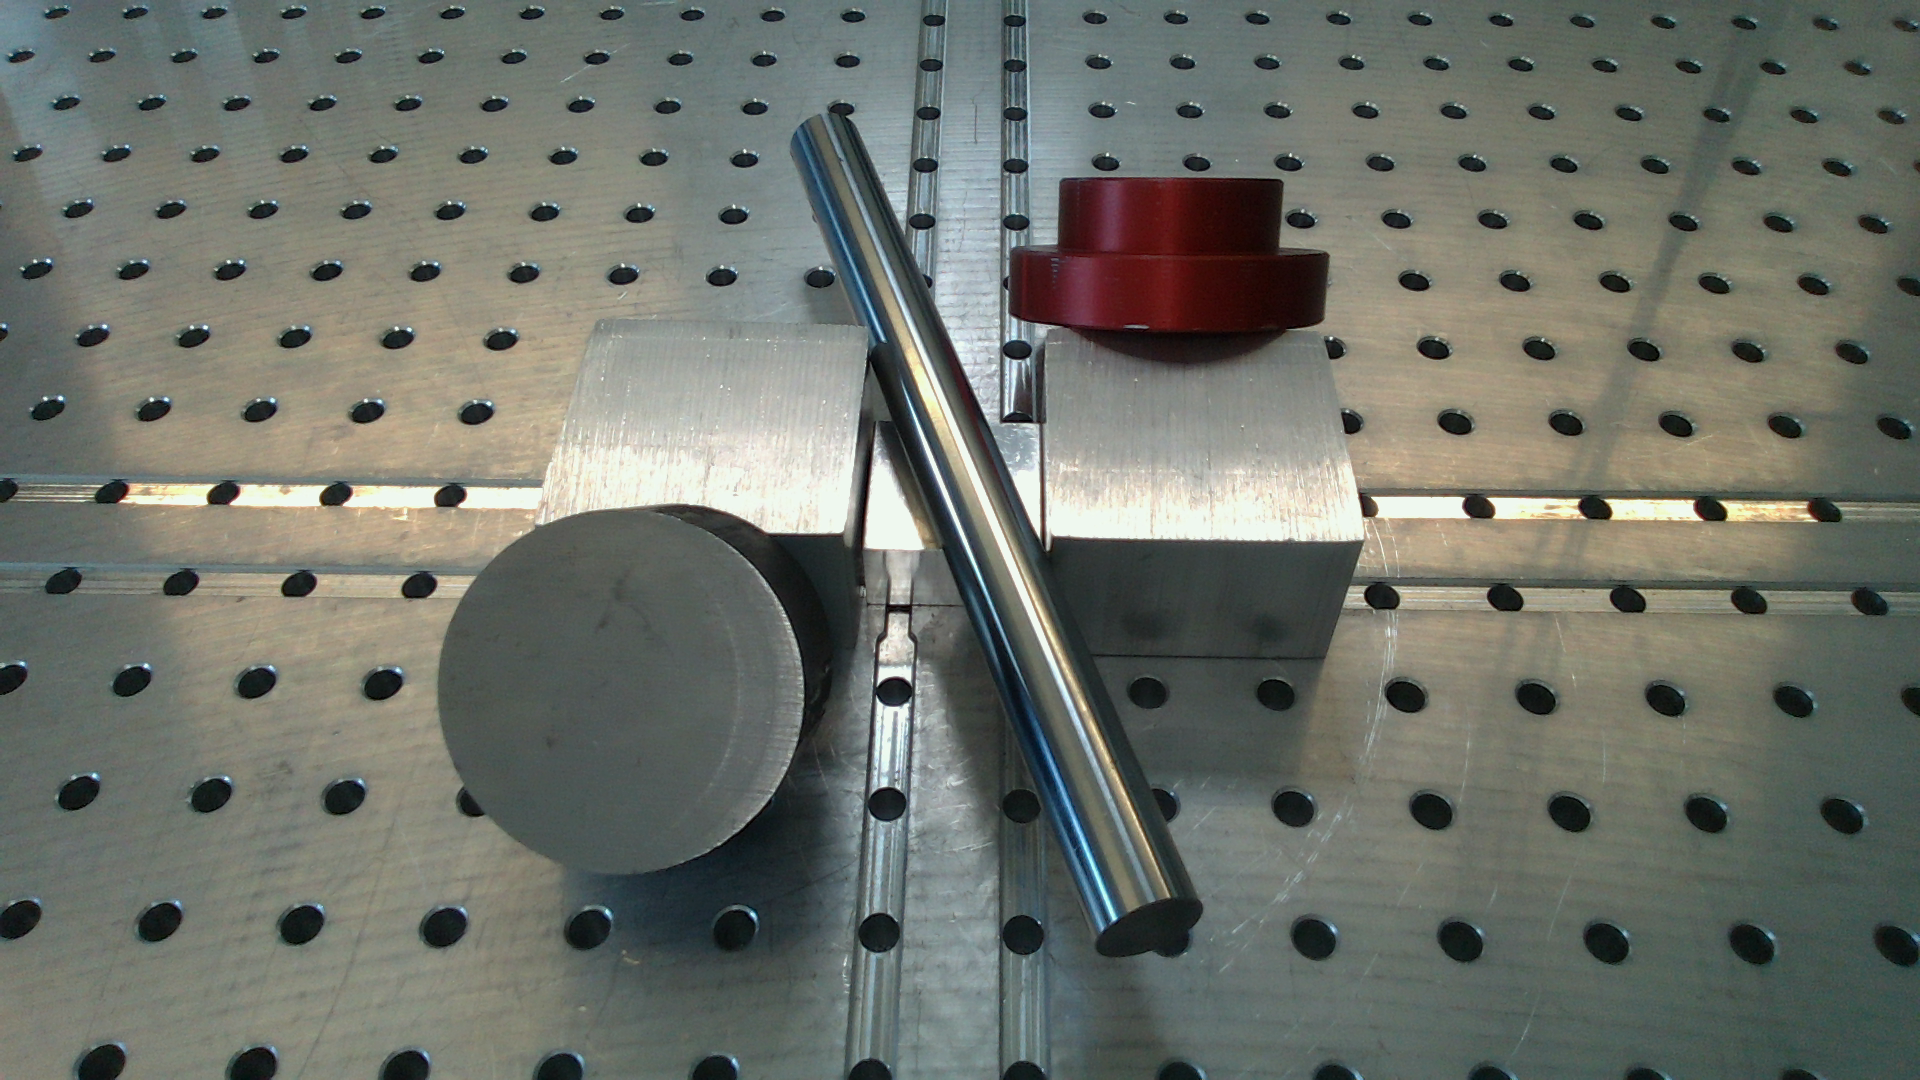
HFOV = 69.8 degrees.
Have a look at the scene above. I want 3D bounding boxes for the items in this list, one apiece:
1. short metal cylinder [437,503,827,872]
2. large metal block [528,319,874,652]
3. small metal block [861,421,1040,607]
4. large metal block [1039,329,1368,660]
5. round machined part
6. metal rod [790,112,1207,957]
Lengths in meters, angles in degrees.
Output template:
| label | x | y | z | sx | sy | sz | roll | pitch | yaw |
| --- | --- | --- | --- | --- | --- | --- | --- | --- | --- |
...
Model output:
| label | x | y | z | sx | sy | sz | roll | pitch | yaw |
| --- | --- | --- | --- | --- | --- | --- | --- | --- | --- |
| short metal cylinder | -0.073 | 0.031 | 0.324 | 0.080 | 0.050 | 0.080 | 0 | 93 | 1 |
| large metal block | -0.068 | -0.016 | 0.393 | 0.080 | 0.050 | 0.080 | 2 | 50 | 1 |
| small metal block | -0.002 | -0.008 | 0.402 | 0.050 | 0.025 | 0.050 | 1 | 50 | 1 |
| large metal block | 0.064 | -0.014 | 0.391 | 0.080 | 0.050 | 0.080 | 1 | 50 | 1 |
| round machined part | 0.064 | -0.091 | 0.428 | 0.098 | 0.042 | 0.098 | 0 | 15 | 0 |
| metal rod | -0.003 | -0.027 | 0.384 | 0.025 | 0.025 | 0.300 | -13 | 51 | -11 |
